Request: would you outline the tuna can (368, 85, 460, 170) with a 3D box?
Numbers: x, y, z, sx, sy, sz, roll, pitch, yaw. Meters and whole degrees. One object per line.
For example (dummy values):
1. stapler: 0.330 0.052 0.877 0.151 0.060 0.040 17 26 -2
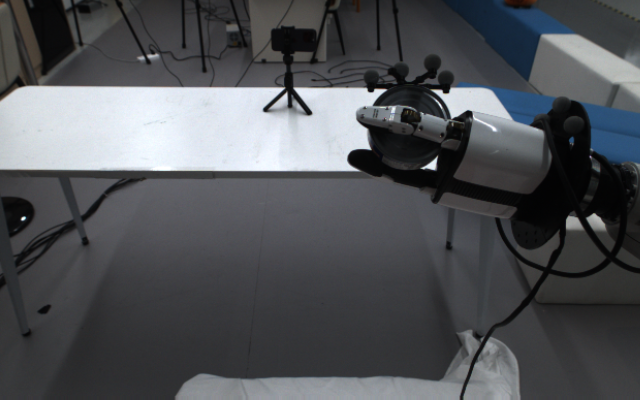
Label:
1. tuna can: 0.094 -0.077 0.516 0.085 0.034 0.085 -1 78 4
